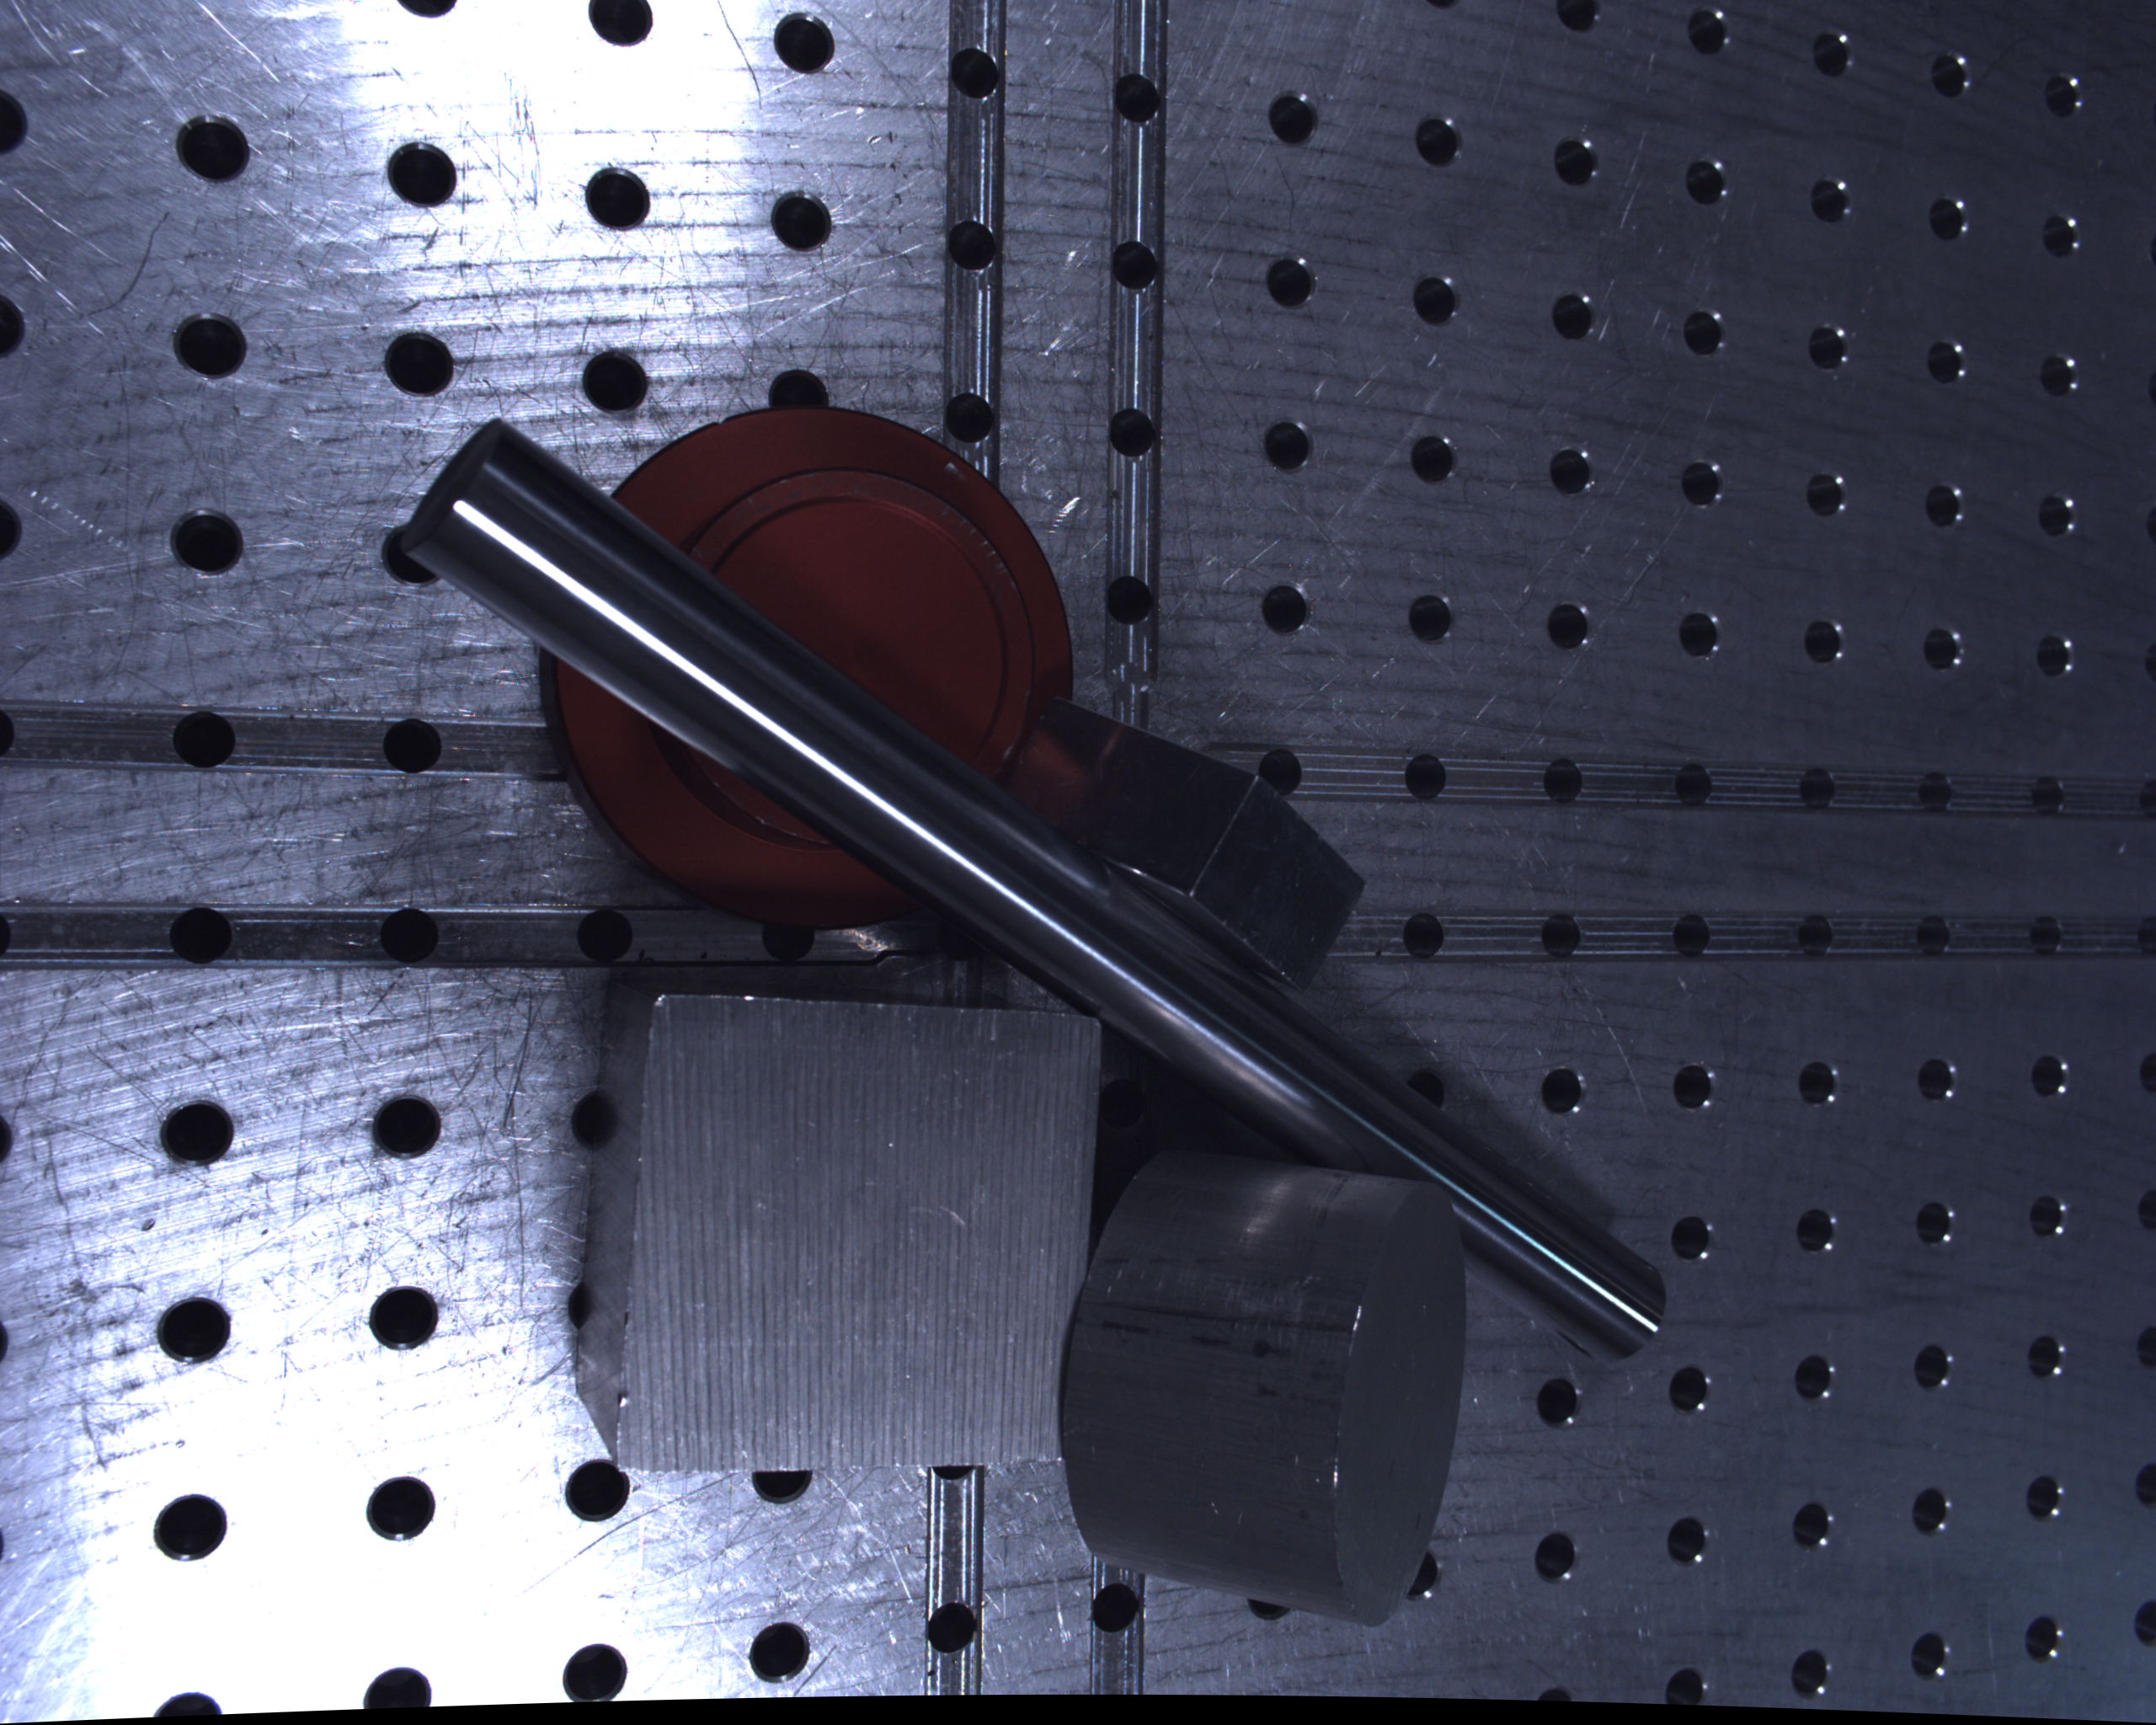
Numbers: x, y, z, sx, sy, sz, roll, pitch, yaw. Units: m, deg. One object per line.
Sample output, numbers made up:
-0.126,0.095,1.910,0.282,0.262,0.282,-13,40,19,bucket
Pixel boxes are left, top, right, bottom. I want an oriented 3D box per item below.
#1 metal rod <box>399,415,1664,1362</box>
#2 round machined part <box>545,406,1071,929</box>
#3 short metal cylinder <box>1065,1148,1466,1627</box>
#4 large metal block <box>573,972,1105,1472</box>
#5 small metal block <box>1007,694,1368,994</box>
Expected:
0.012,0.021,0.384,0.301,0.025,0.025,36,78,-30,metal rod
-0.047,-0.036,0.387,0.099,0.042,0.097,0,90,-21,round machined part
0.038,0.097,0.392,0.080,0.050,0.079,4,90,-65,short metal cylinder
-0.045,0.064,0.381,0.081,0.050,0.080,5,88,-20,large metal block
0.019,-0.003,0.397,0.025,0.050,0.050,-60,142,-7,small metal block
